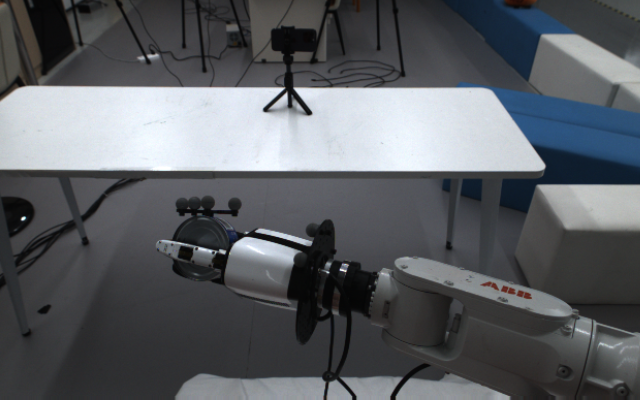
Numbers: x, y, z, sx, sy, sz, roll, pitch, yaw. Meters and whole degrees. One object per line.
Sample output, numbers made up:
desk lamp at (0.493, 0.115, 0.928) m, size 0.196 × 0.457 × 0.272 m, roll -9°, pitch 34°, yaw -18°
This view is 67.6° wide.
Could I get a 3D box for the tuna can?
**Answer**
tuna can at (-0.150, 0.065, 0.642) m, size 0.085 × 0.085 × 0.034 m, roll 15°, pitch 0°, yaw 18°
